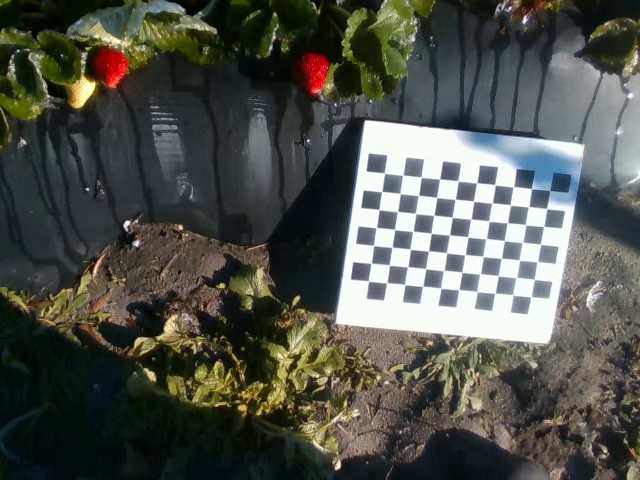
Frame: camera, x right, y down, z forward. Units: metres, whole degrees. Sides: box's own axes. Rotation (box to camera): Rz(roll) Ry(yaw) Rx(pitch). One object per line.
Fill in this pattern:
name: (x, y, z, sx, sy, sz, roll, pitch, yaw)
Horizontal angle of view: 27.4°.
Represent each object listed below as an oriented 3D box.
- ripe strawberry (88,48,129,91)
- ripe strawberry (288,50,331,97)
ripe strawberry: (-0.201, -0.155, 1.289, 0.037, 0.051, 0.040, -8, -32, -4)
ripe strawberry: (-0.006, -0.155, 1.314, 0.041, 0.053, 0.047, -1, -23, -7)
